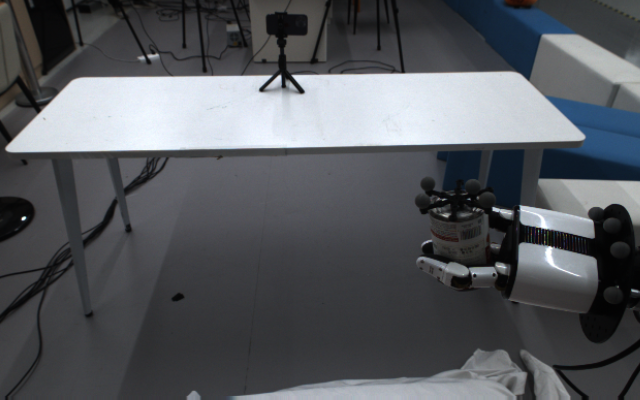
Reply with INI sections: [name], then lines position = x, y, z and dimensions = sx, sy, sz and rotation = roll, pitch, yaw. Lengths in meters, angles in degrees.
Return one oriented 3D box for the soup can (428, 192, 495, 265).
[soup can]
position = 0.170, 0.047, 0.575
dimensions = 0.067, 0.101, 0.067
rotation = -11, 27, 6
